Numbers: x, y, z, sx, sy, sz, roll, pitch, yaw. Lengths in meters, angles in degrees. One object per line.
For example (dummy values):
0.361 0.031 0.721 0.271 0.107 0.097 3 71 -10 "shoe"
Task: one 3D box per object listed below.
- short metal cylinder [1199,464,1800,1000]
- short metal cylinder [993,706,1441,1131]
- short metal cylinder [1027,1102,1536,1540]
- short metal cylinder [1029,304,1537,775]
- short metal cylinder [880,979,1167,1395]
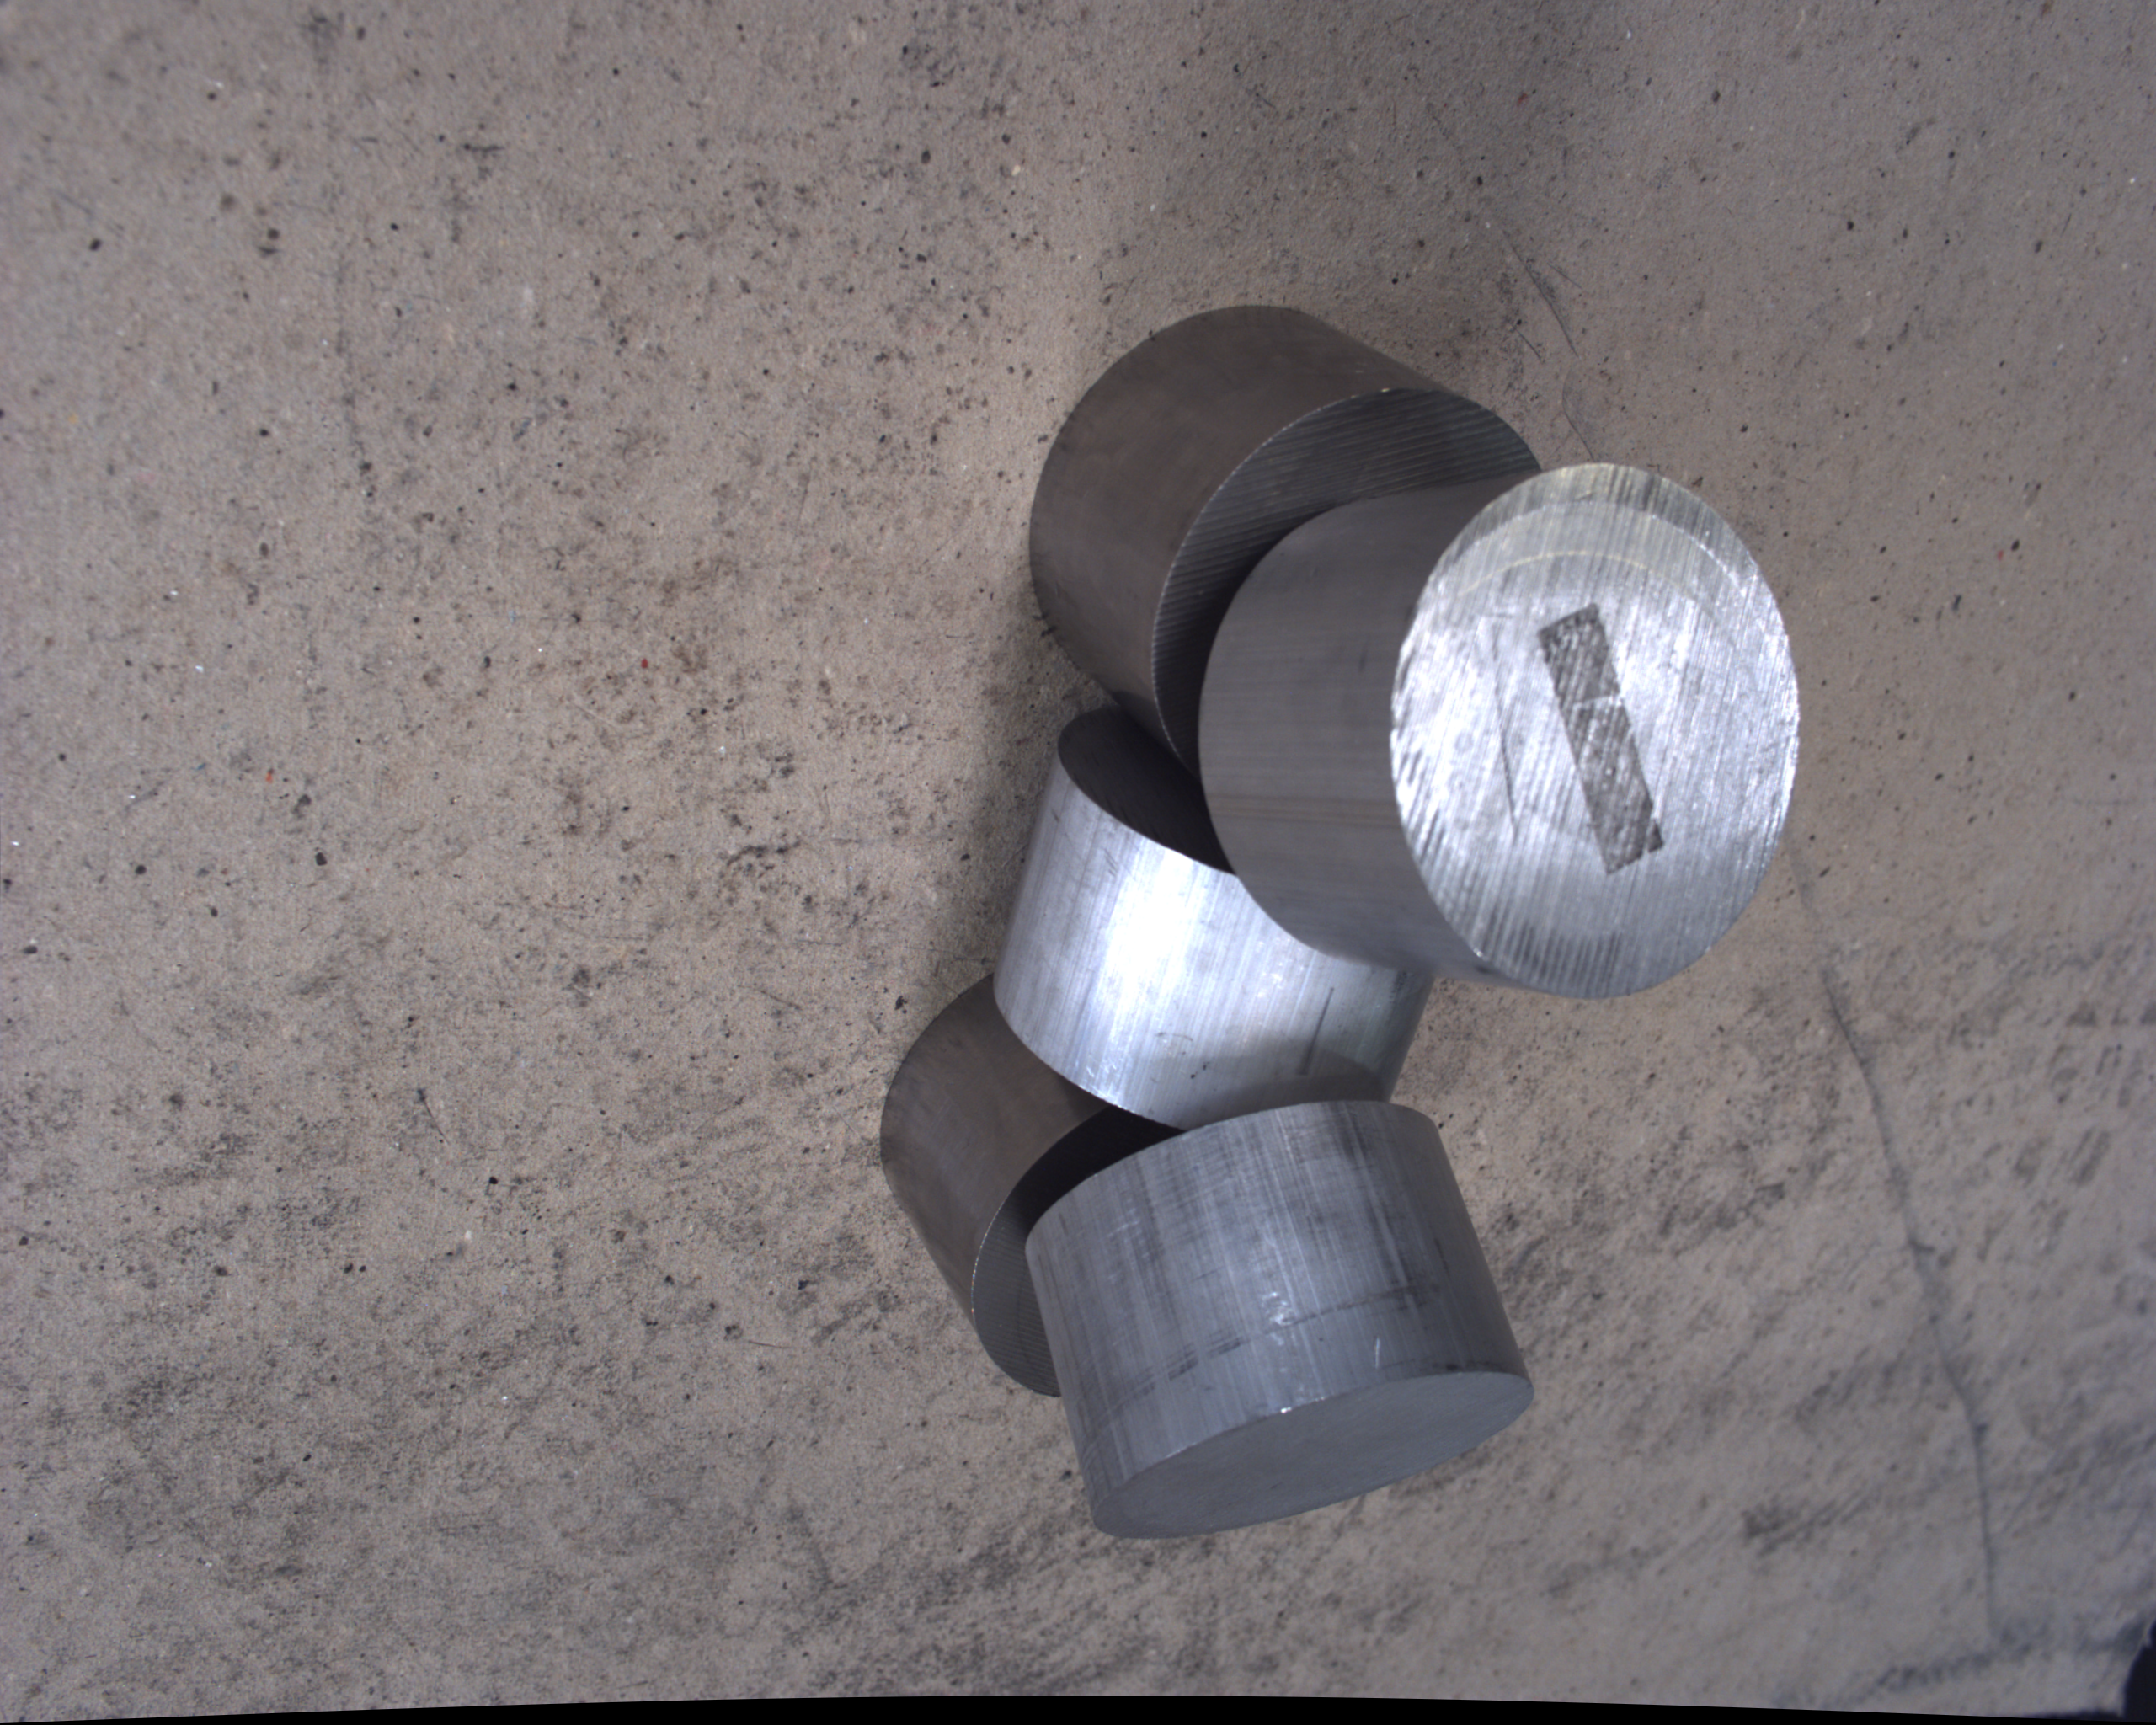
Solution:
0.067 -0.020 0.332 0.081 0.050 0.079 -2 94 -29 "short metal cylinder"
0.029 0.009 0.395 0.081 0.080 0.050 1 118 -29 "short metal cylinder"
0.035 0.084 0.378 0.081 0.050 0.080 -13 150 -7 "short metal cylinder"
0.038 -0.055 0.379 0.081 0.050 0.079 -14 124 -21 "short metal cylinder"
0.005 0.063 0.434 0.081 0.050 0.079 -14 124 -21 "short metal cylinder"
